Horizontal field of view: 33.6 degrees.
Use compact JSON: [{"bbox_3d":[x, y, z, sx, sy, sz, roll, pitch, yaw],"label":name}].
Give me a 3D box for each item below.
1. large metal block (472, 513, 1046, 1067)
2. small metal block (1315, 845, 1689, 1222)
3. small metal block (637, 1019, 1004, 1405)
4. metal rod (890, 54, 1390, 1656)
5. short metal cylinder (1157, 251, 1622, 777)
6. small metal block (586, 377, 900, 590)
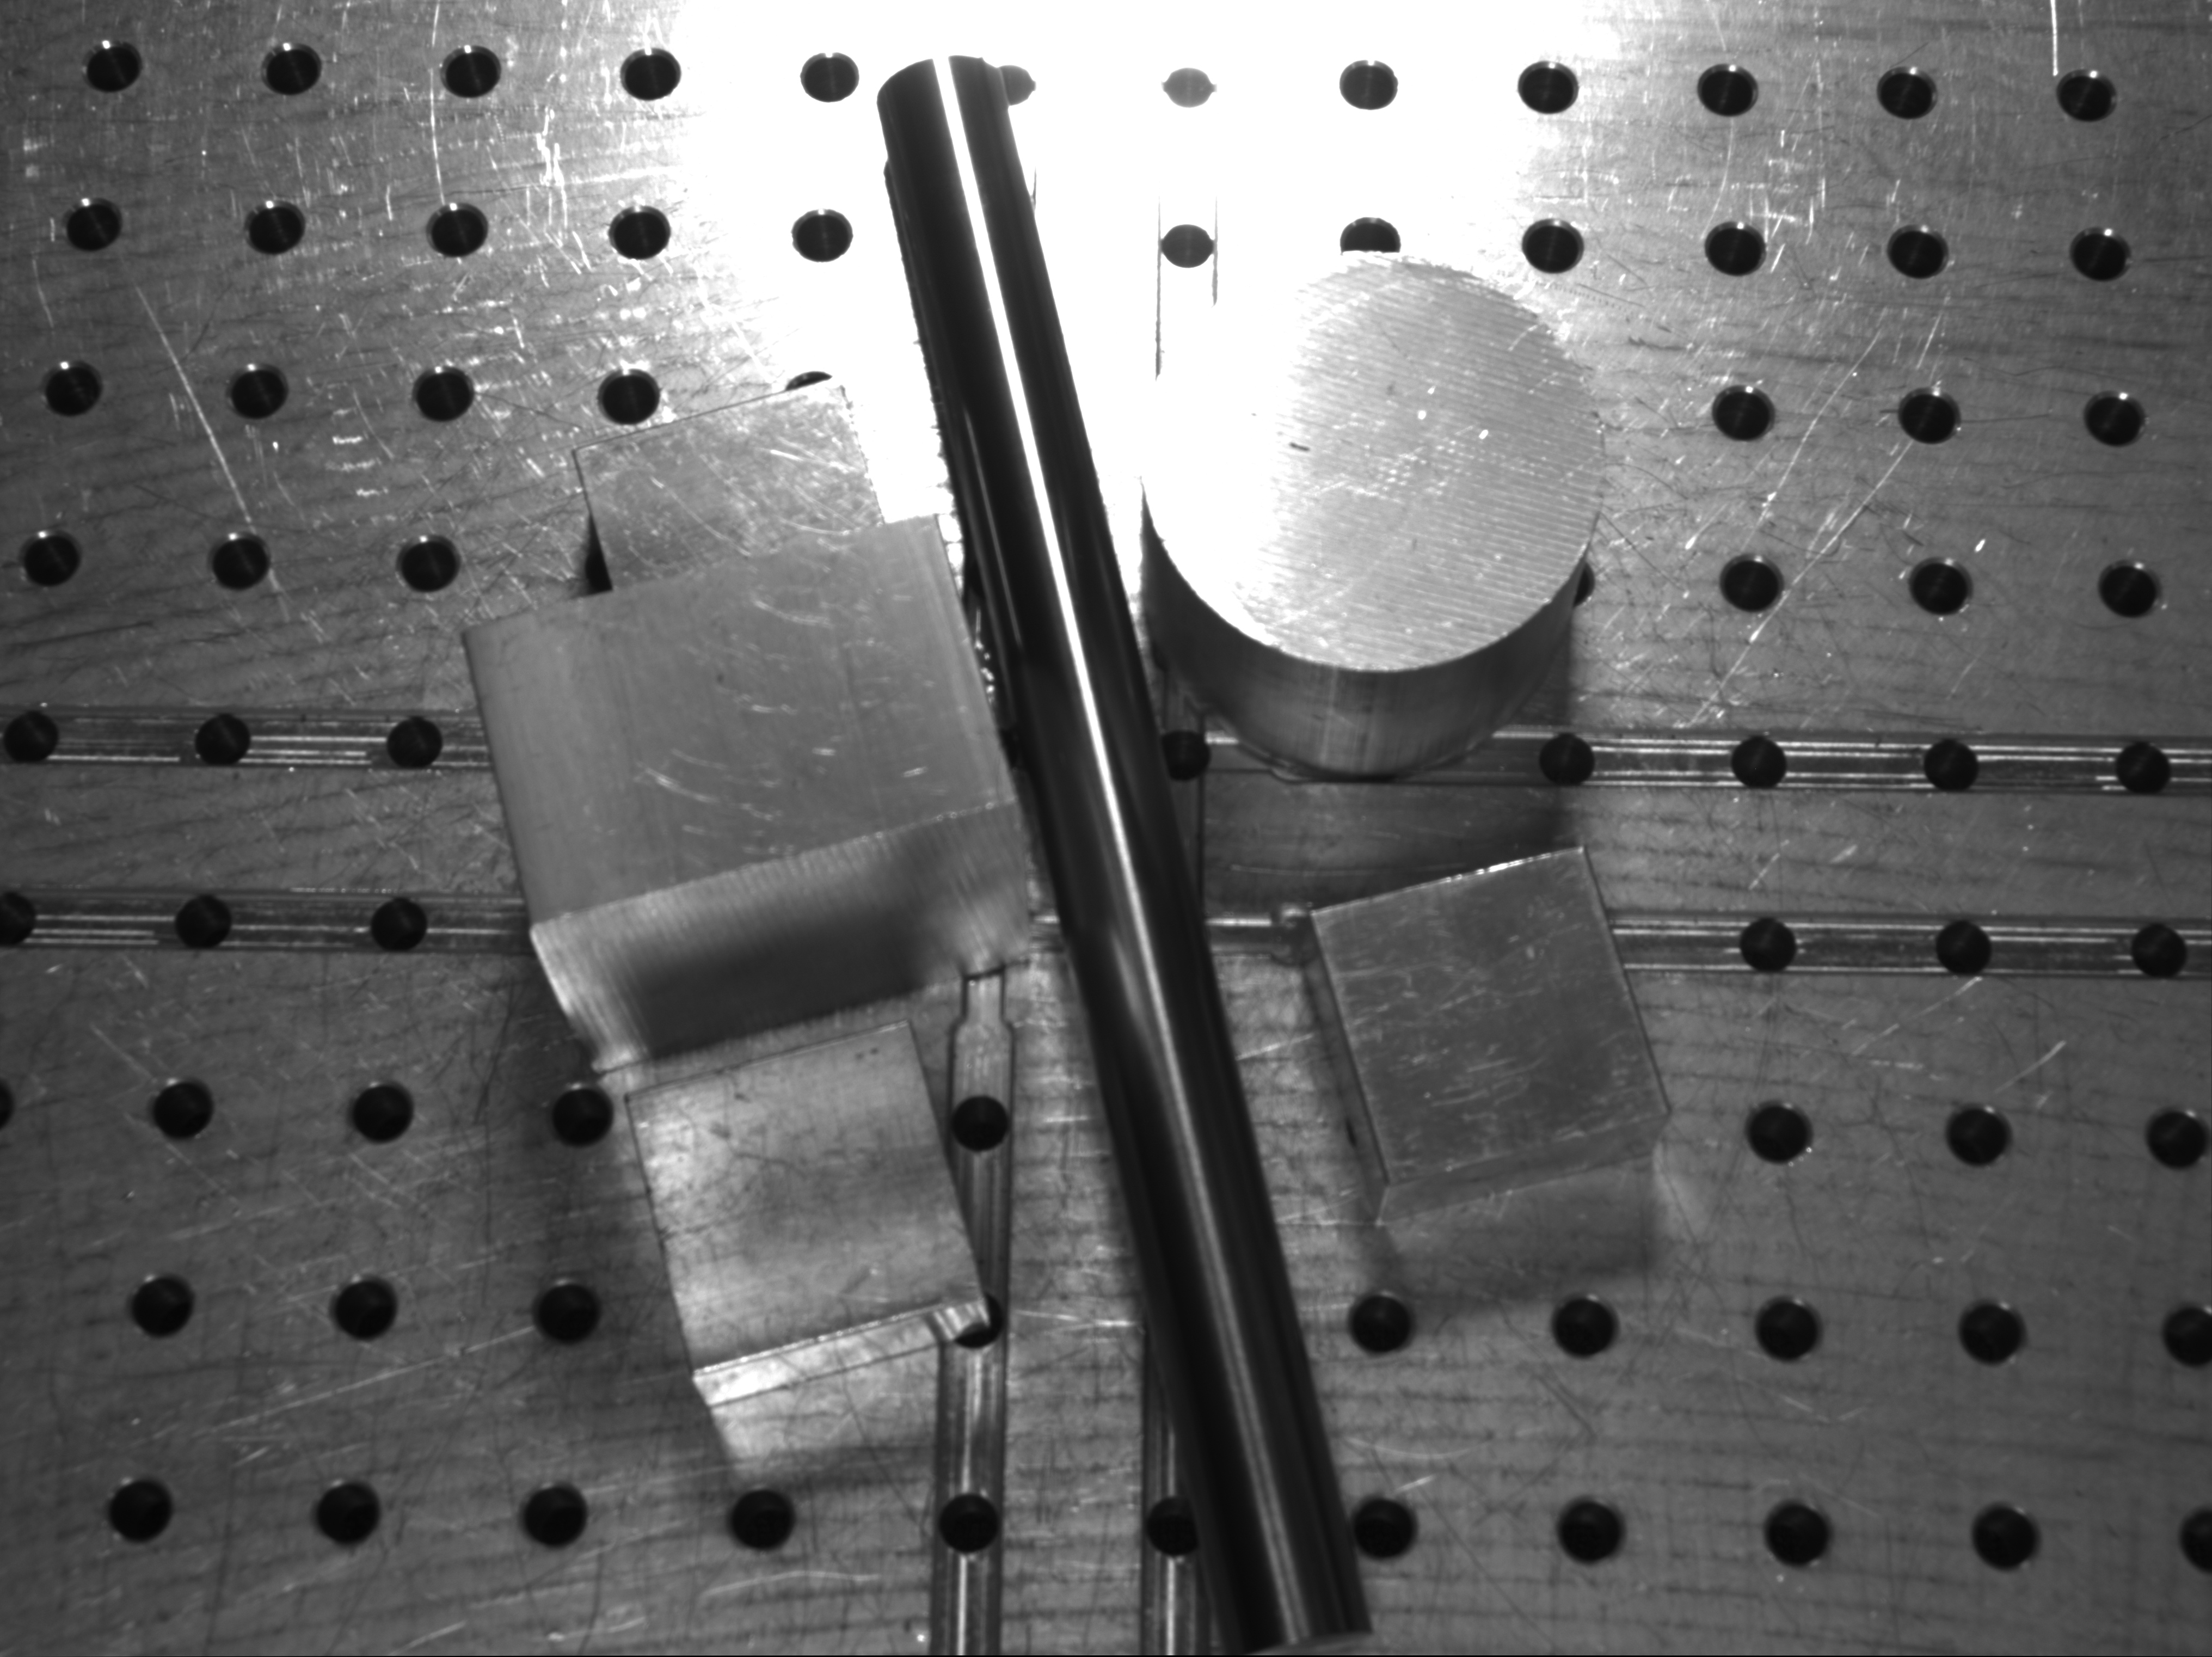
[{"bbox_3d":[-0.056,-0.005,0.618,0.080,0.080,0.050,-15,70,-5],"label":"large metal block"},{"bbox_3d":[0.068,0.036,0.634,0.050,0.025,0.050,-14,70,-5],"label":"small metal block"},{"bbox_3d":[-0.048,0.065,0.623,0.050,0.025,0.050,-15,70,-5],"label":"small metal block"},{"bbox_3d":[0.003,-0.003,0.648,0.025,0.025,0.300,-11,70,-4],"label":"metal rod"},{"bbox_3d":[0.049,-0.056,0.654,0.080,0.050,0.080,0,70,0],"label":"short metal cylinder"},{"bbox_3d":[-0.062,-0.048,0.665,0.050,0.025,0.050,-16,71,-6],"label":"small metal block"}]
